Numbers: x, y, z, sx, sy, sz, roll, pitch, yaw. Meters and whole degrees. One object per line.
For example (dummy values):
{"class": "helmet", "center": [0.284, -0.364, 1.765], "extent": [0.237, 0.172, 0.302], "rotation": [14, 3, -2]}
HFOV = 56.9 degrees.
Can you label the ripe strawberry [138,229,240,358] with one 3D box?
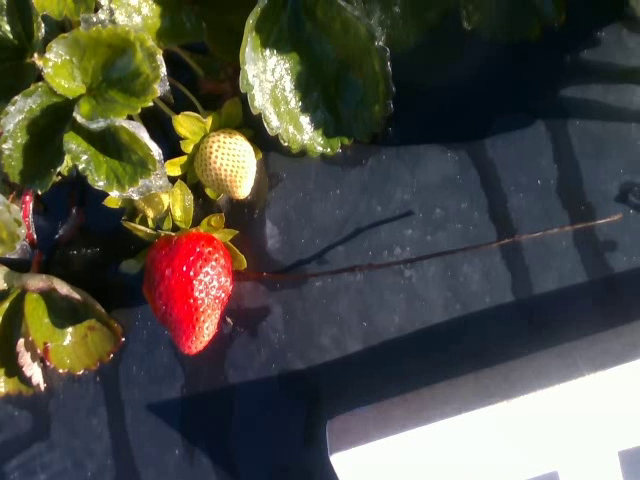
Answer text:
{"class": "ripe strawberry", "center": [-0.038, 0.019, 0.181], "extent": [0.039, 0.039, 0.040], "rotation": [-23, -39, 20]}
